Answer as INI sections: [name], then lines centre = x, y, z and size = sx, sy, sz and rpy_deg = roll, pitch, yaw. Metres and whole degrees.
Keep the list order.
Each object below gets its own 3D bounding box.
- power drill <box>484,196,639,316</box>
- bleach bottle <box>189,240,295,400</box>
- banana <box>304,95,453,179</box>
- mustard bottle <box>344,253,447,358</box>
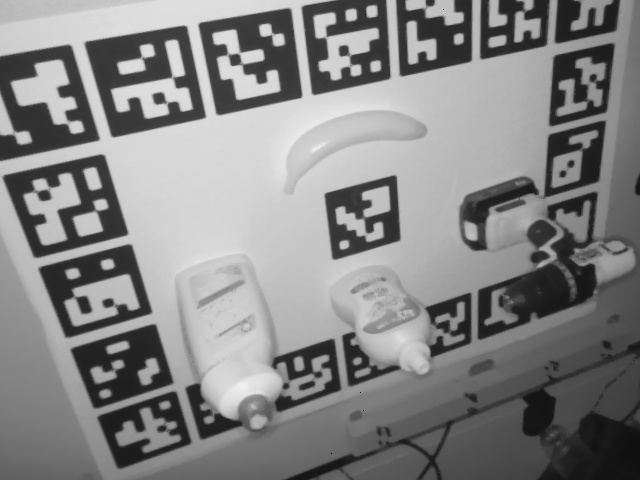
[power drill]
centre = 0.287, 0.015, 0.855
size = 0.186, 0.186, 0.057
rpy_deg = -19, 120, -15
[bleach bottle]
centre = -0.076, 0.082, 0.745
size = 0.104, 0.250, 0.067
rpy_deg = -5, 116, -18
[banana]
centre = 0.067, -0.132, 0.813
size = 0.199, 0.038, 0.074
rpy_deg = -19, 117, -15
[mustard bottle]
centre = 0.101, 0.084, 0.852
size = 0.097, 0.191, 0.058
rpy_deg = -19, 120, -9
